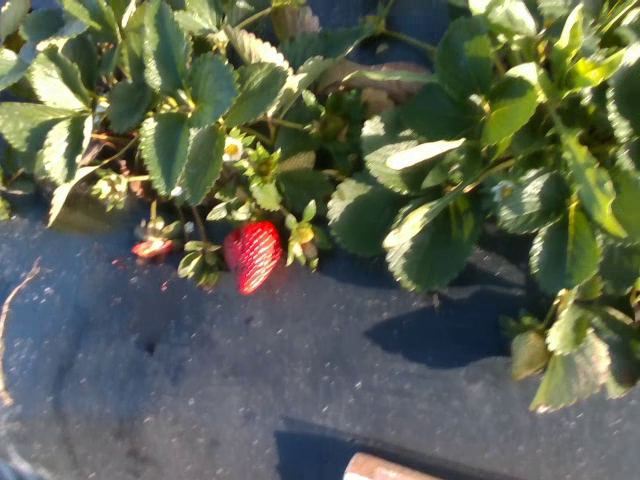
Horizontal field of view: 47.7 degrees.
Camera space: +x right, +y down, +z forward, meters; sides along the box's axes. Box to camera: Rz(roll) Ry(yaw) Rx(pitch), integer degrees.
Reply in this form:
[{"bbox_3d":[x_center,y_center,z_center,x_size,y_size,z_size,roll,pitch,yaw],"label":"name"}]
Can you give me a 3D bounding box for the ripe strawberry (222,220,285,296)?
[{"bbox_3d":[-0.051,0.016,0.497,0.052,0.052,0.041,-21,-49,32],"label":"ripe strawberry"}]
